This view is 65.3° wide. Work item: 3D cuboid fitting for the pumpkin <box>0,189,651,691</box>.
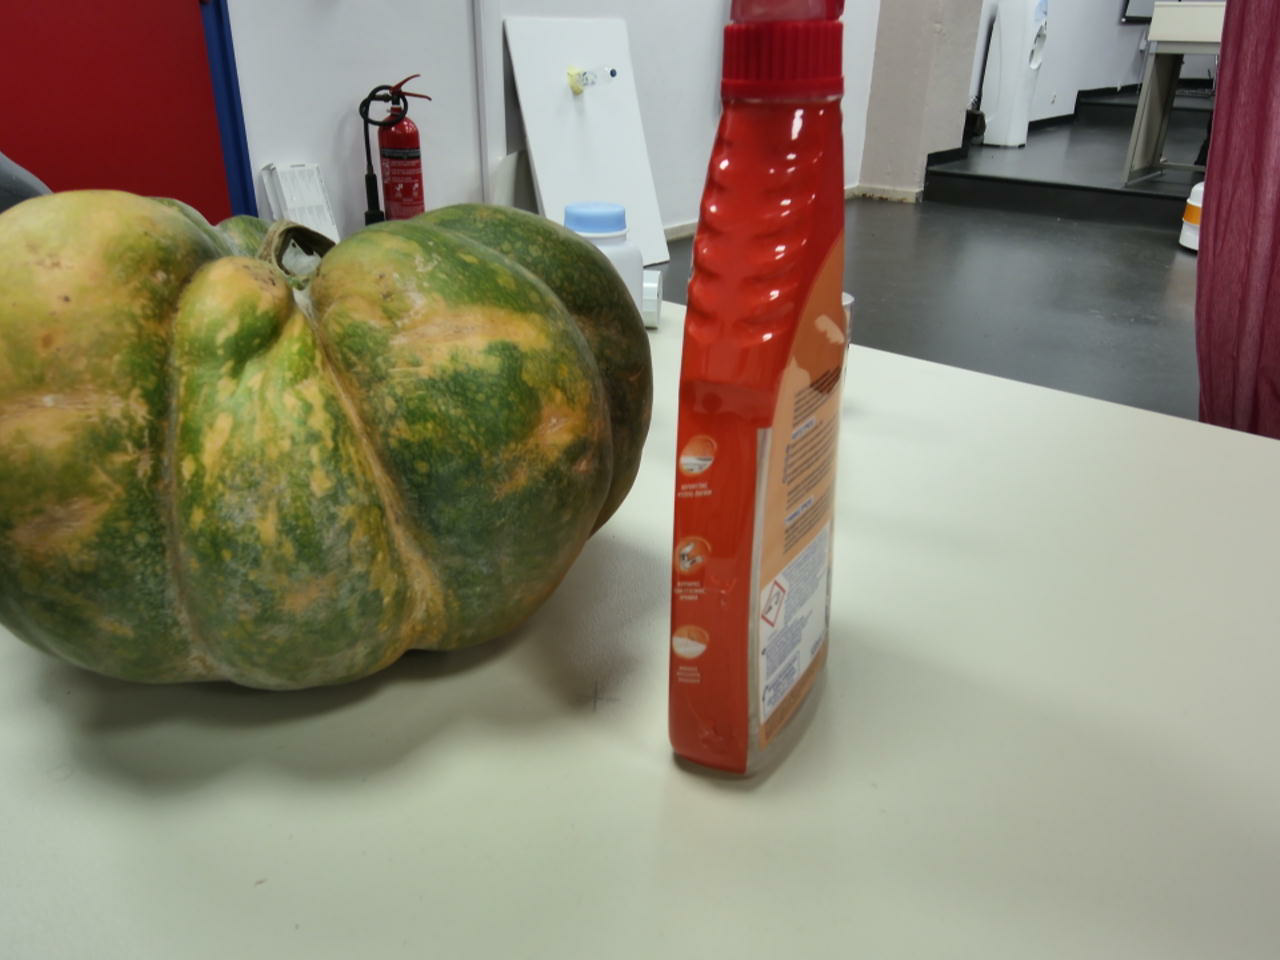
[{"bbox_3d":[-0.132,-0.027,0.375,0.270,0.173,0.237,-6,24,-13],"label":"pumpkin"}]
